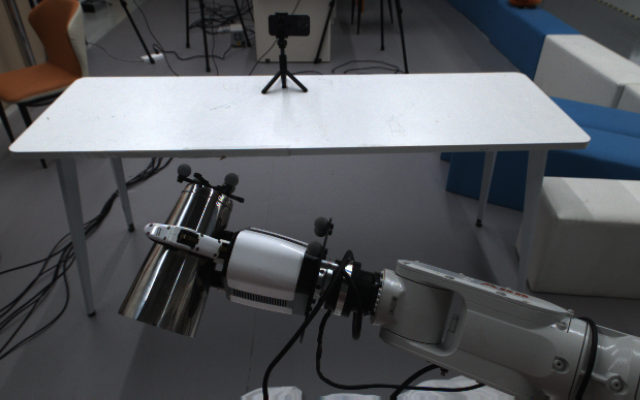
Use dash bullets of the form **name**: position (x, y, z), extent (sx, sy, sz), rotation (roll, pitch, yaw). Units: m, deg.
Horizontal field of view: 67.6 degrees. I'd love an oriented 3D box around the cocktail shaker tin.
- **cocktail shaker tin**: position (-0.168, 0.070, 0.589), extent (0.093, 0.093, 0.170), rotation (13, 70, 15)
